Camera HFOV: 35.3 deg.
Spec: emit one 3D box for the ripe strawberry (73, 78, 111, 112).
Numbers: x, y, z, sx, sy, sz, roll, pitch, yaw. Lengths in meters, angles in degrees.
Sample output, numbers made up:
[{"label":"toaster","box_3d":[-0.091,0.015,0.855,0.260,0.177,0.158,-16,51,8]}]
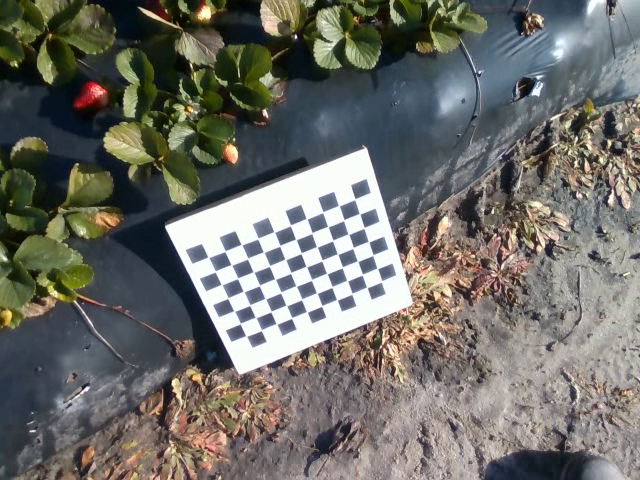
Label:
[{"label":"ripe strawberry","box_3d":[-0.294,-0.196,1.350,0.055,0.042,0.044,-36,25,-23]}]
